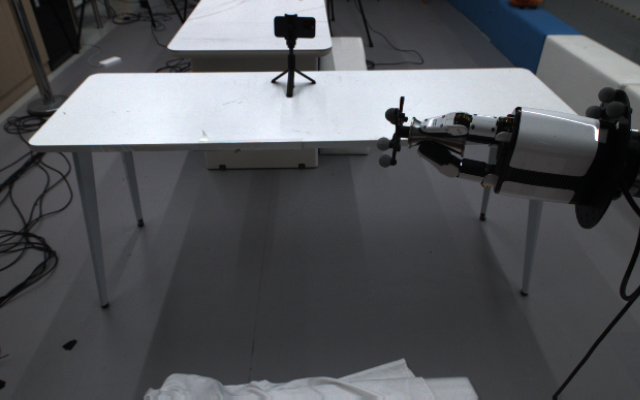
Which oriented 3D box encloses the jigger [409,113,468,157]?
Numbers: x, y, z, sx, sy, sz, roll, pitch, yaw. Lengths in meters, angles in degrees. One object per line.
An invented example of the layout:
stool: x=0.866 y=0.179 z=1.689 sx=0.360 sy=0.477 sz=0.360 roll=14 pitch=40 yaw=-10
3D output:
jigger: x=0.153 y=-0.084 z=0.605 sx=0.071 sy=0.043 sz=0.043 roll=10 pitch=35 yaw=16
